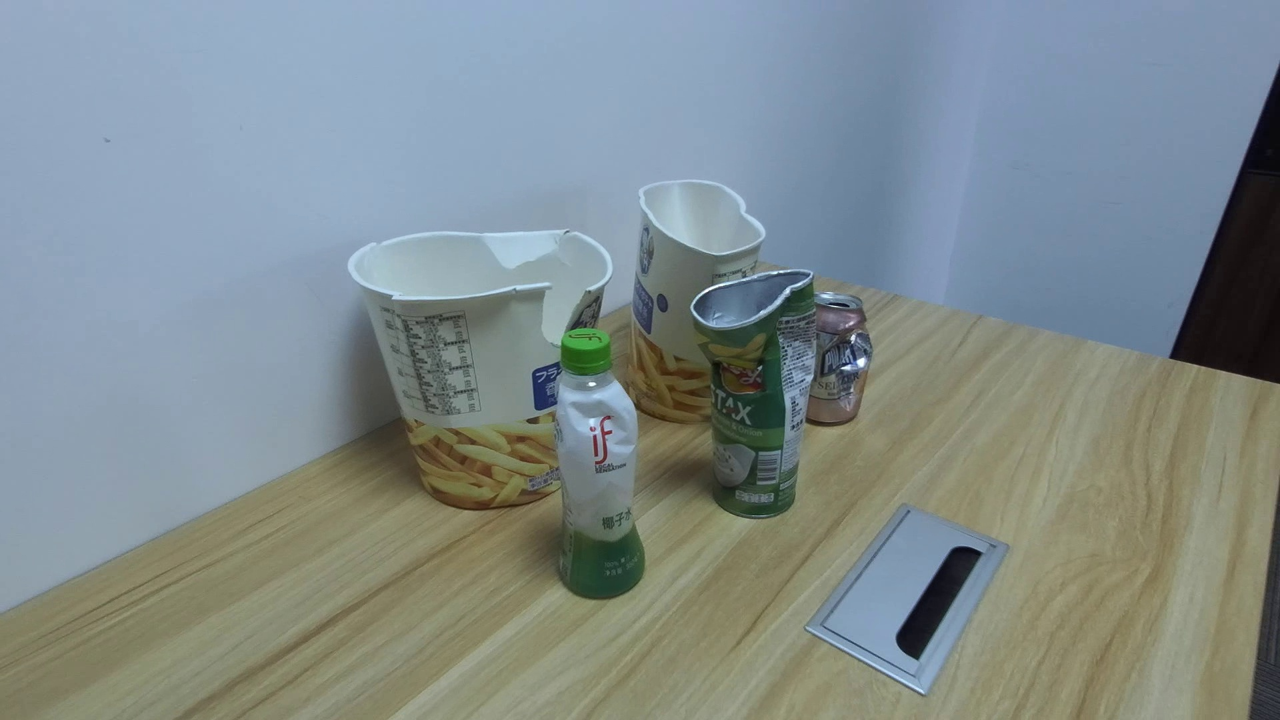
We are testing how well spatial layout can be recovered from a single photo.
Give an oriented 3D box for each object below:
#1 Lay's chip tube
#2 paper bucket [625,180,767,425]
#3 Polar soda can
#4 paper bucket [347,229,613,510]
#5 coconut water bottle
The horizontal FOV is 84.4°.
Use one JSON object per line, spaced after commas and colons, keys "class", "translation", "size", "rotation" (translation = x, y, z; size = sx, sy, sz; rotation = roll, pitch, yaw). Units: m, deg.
{"class": "Lay's chip tube", "translation": [0.084, 0.030, 0.532], "size": [0.078, 0.200, 0.071], "rotation": [10, 37, 28]}
{"class": "paper bucket", "translation": [0.058, -0.058, 0.692], "size": [0.148, 0.199, 0.217], "rotation": [-19, 32, -28]}
{"class": "Polar soda can", "translation": [0.182, -0.004, 0.678], "size": [0.071, 0.122, 0.066], "rotation": [-13, 25, -19]}
{"class": "paper bucket", "translation": [-0.124, 0.004, 0.595], "size": [0.203, 0.197, 0.145], "rotation": [-4, 30, -3]}
{"class": "coconut water bottle", "translation": [-0.030, 0.070, 0.475], "size": [0.067, 0.187, 0.067], "rotation": [-1, 26, 1]}
